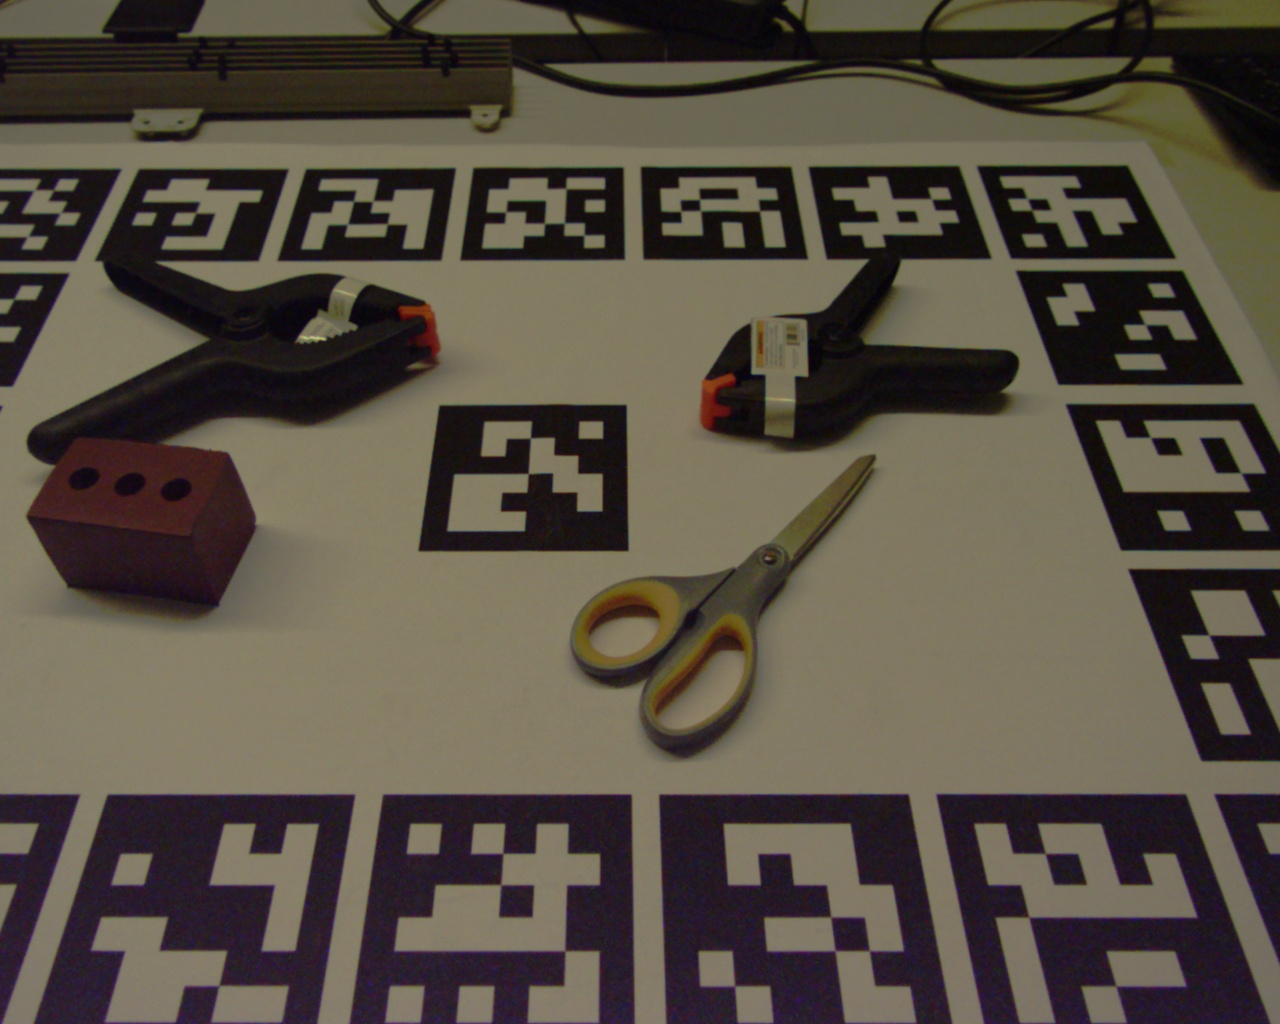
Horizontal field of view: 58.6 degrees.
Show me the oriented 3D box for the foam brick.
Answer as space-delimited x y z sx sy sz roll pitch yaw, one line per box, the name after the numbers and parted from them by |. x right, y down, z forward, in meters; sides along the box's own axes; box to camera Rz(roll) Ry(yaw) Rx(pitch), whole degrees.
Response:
-0.232 0.008 0.571 0.078 0.051 0.053 3 52 8 | foam brick

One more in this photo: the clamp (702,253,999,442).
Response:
0.109 -0.085 0.659 0.164 0.036 0.123 -23 61 -17 | clamp

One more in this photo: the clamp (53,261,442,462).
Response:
-0.217 -0.094 0.662 0.202 0.036 0.166 -3 48 -3 | clamp

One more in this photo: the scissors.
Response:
0.049 0.029 0.568 0.088 0.016 0.201 36 57 17 | scissors
